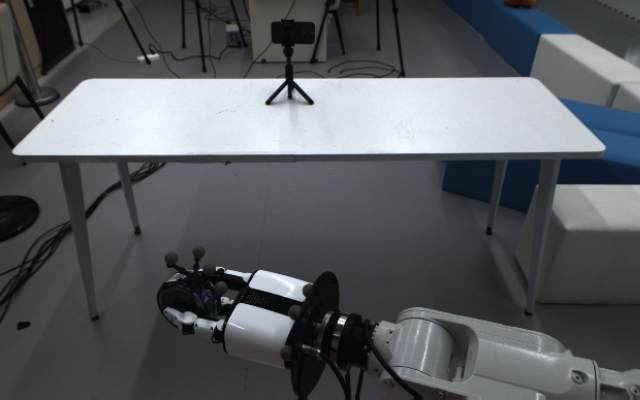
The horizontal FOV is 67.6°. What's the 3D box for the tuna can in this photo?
[{"bbox_3d":[-0.180,0.143,0.670,0.085,0.085,0.034,15,31,18],"label":"tuna can"}]
